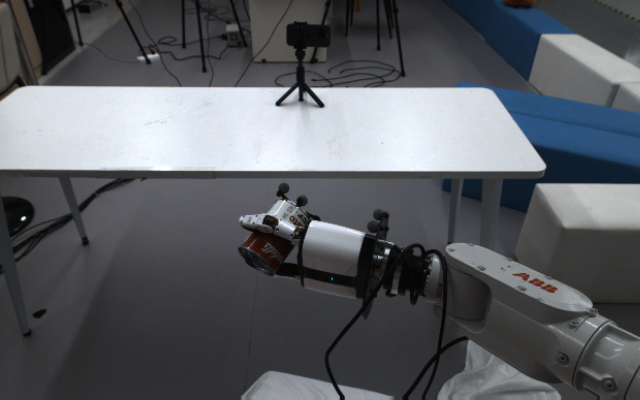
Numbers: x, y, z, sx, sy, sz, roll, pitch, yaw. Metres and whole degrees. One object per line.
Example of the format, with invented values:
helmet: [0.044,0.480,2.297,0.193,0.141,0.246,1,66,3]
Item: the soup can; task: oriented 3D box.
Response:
soup can: [-0.068,0.055,0.738,0.067,0.067,0.101,23,60,27]
